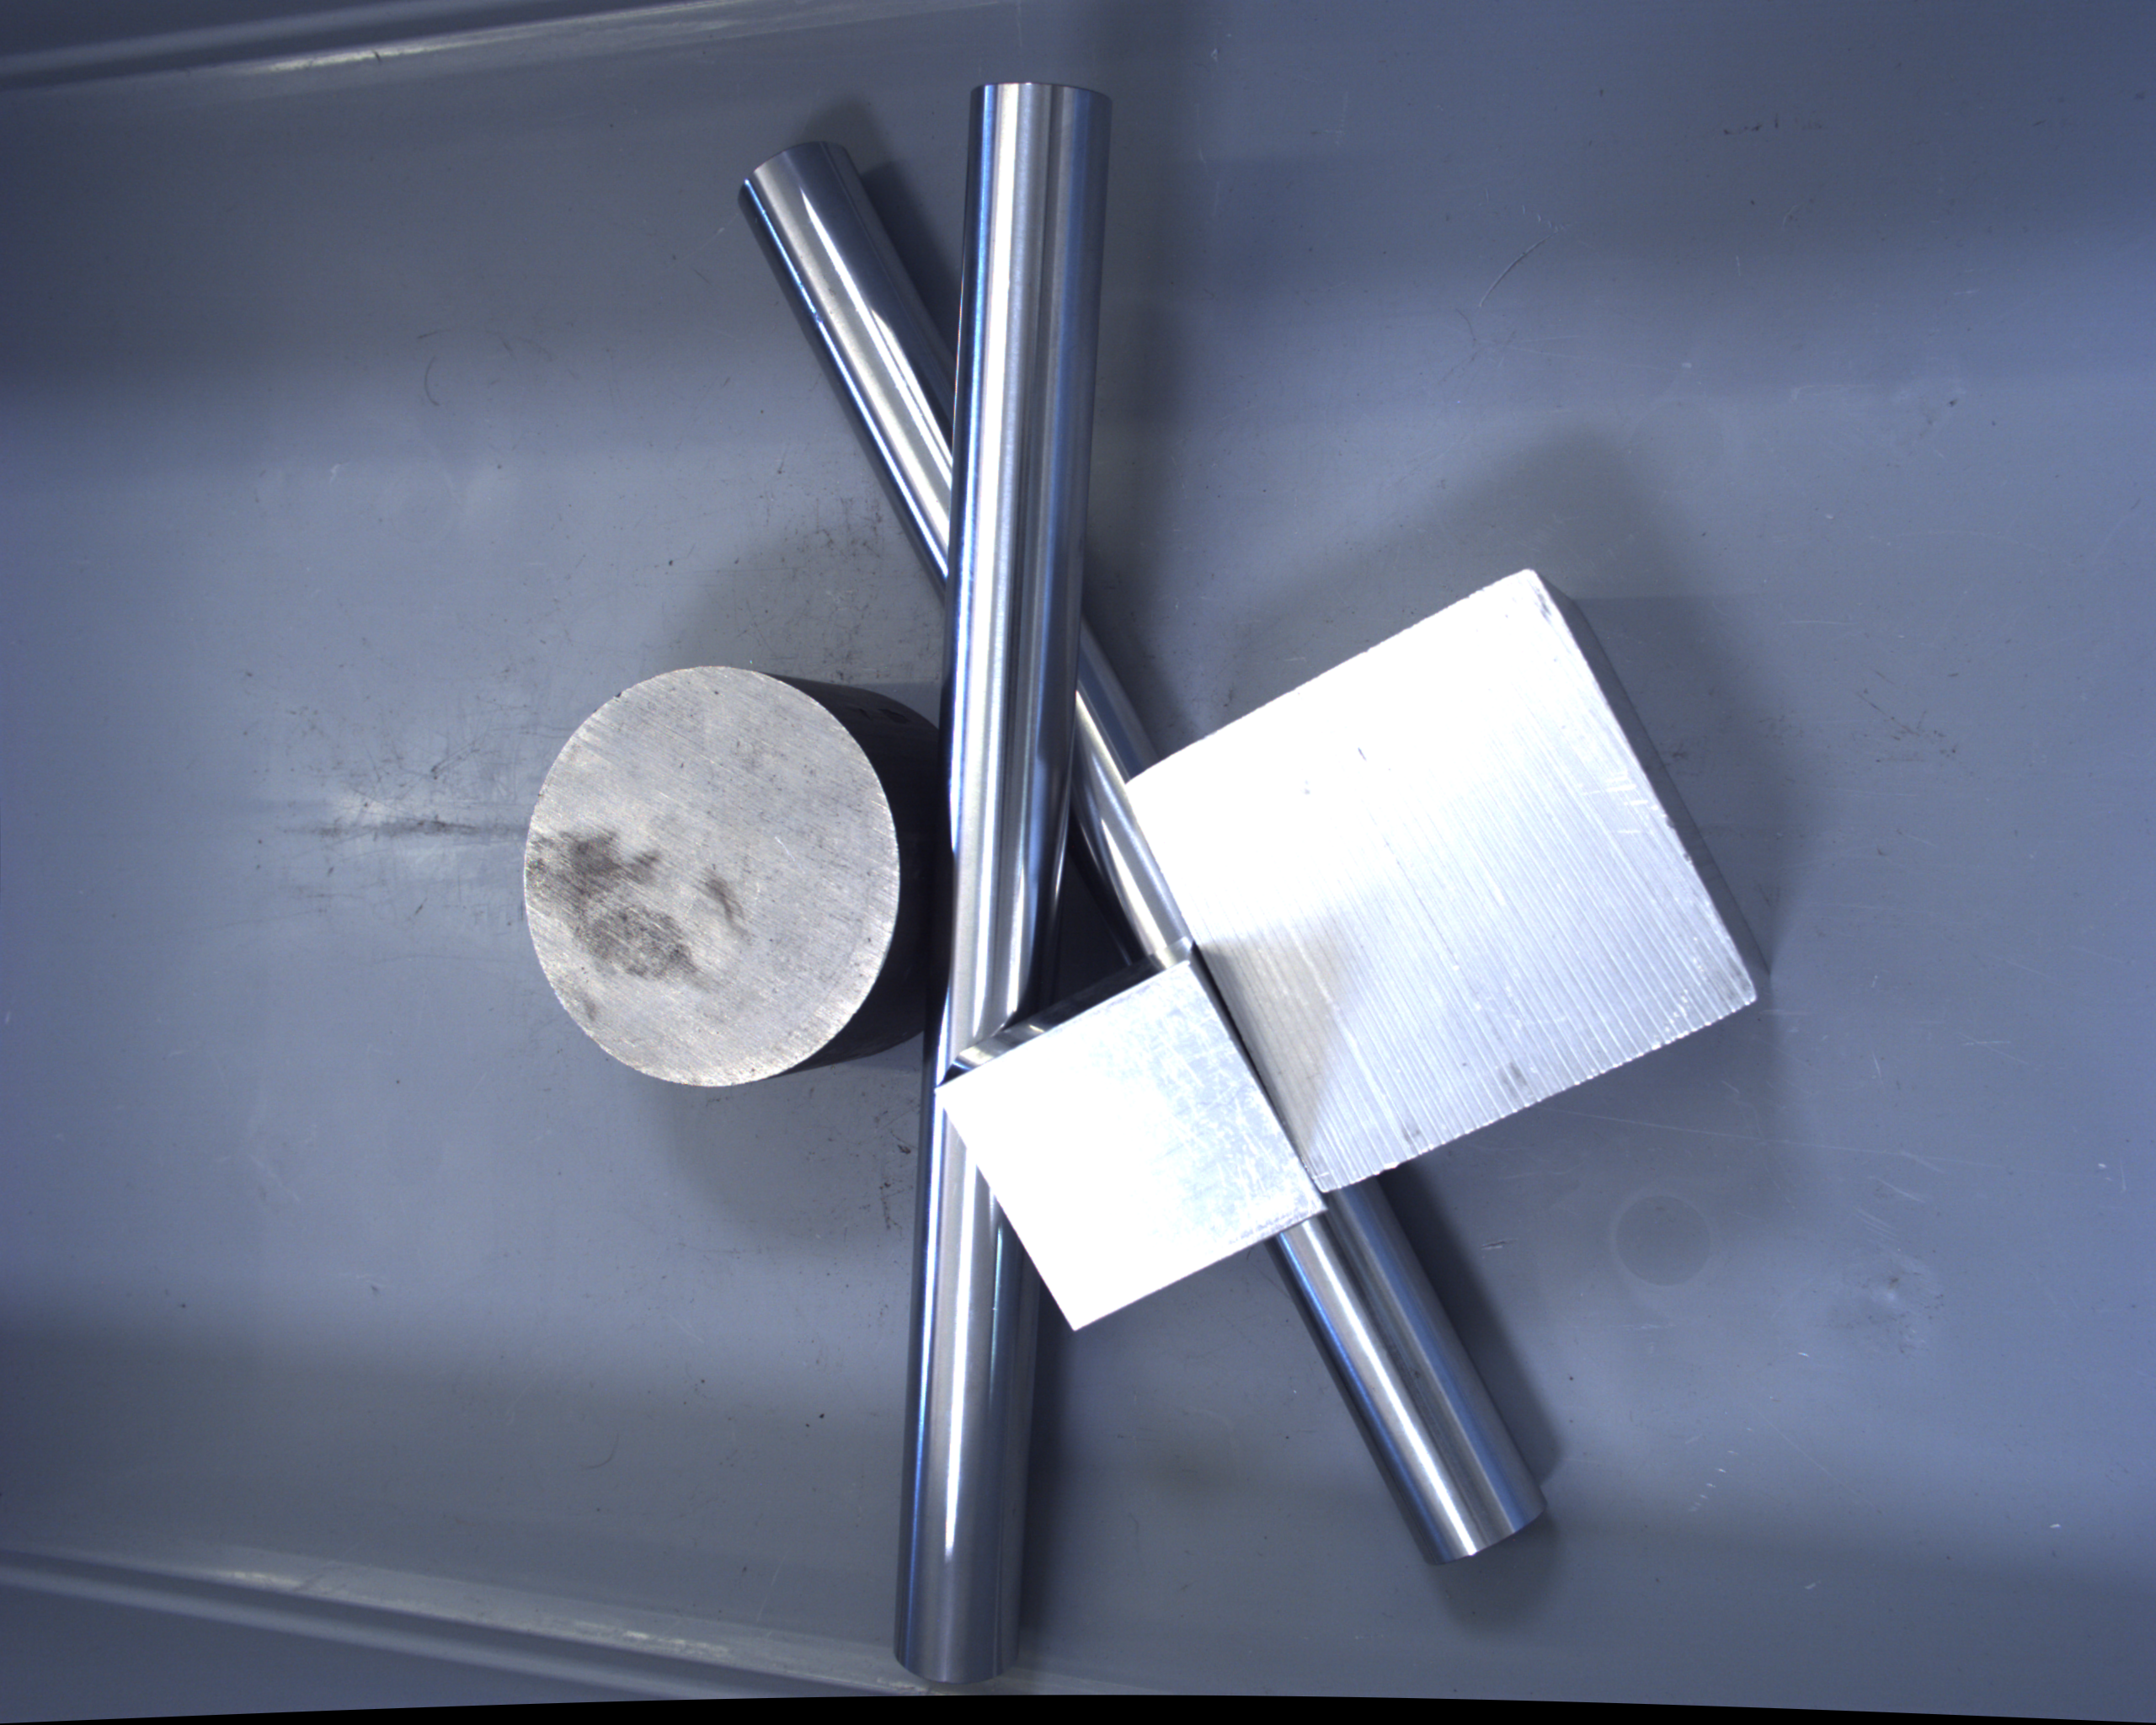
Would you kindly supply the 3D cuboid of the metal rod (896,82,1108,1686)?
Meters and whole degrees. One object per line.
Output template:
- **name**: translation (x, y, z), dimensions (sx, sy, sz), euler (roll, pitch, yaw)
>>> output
- **metal rod**: translation (-0.016, 0.011, 0.393), dimensions (0.025, 0.025, 0.298), euler (7, 100, 20)

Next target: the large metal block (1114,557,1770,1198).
- **large metal block**: translation (0.066, 0.003, 0.371), dimensions (0.080, 0.050, 0.080), euler (-29, 81, 17)

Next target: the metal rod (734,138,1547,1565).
- **metal rod**: translation (0.008, -0.009, 0.406), dimensions (0.025, 0.025, 0.299), euler (-30, 81, 17)

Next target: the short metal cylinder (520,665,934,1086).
- **short metal cylinder**: translation (-0.062, 0.002, 0.417), dimensions (0.080, 0.050, 0.079), euler (0, 90, 19)

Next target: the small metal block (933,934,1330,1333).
- **small metal block**: translation (0.010, 0.047, 0.371), dimensions (0.050, 0.025, 0.050), euler (-28, 96, 9)
